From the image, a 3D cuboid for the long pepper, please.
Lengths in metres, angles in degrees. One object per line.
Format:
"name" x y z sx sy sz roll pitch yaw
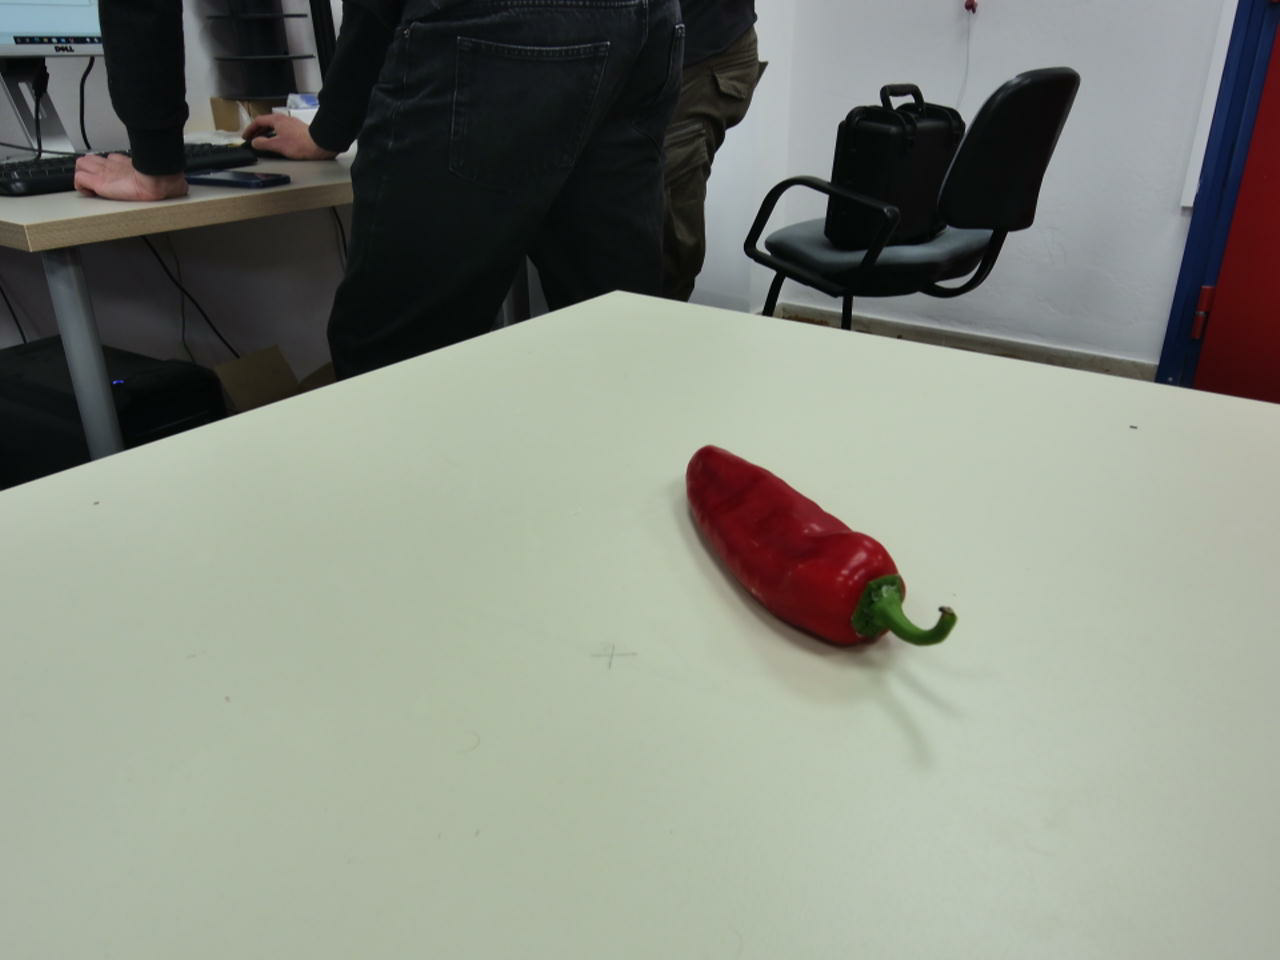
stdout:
"long pepper" 0.061 0.024 0.436 0.050 0.043 0.211 -8 24 -18
